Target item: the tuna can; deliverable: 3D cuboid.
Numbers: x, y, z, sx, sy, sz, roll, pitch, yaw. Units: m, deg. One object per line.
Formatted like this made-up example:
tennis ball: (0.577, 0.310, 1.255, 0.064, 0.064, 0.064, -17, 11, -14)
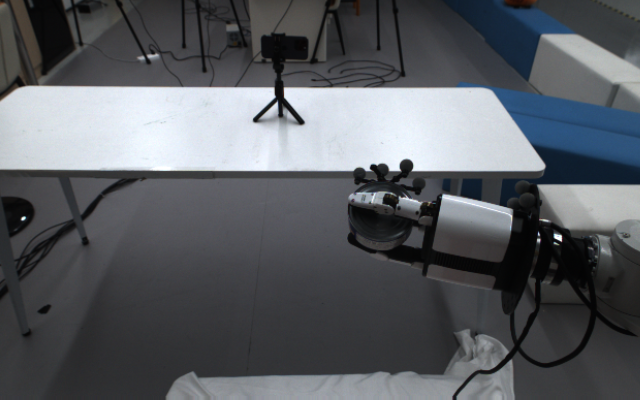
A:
tuna can: (0.079, 0.016, 0.616, 0.085, 0.034, 0.085, -2, 56, 3)
